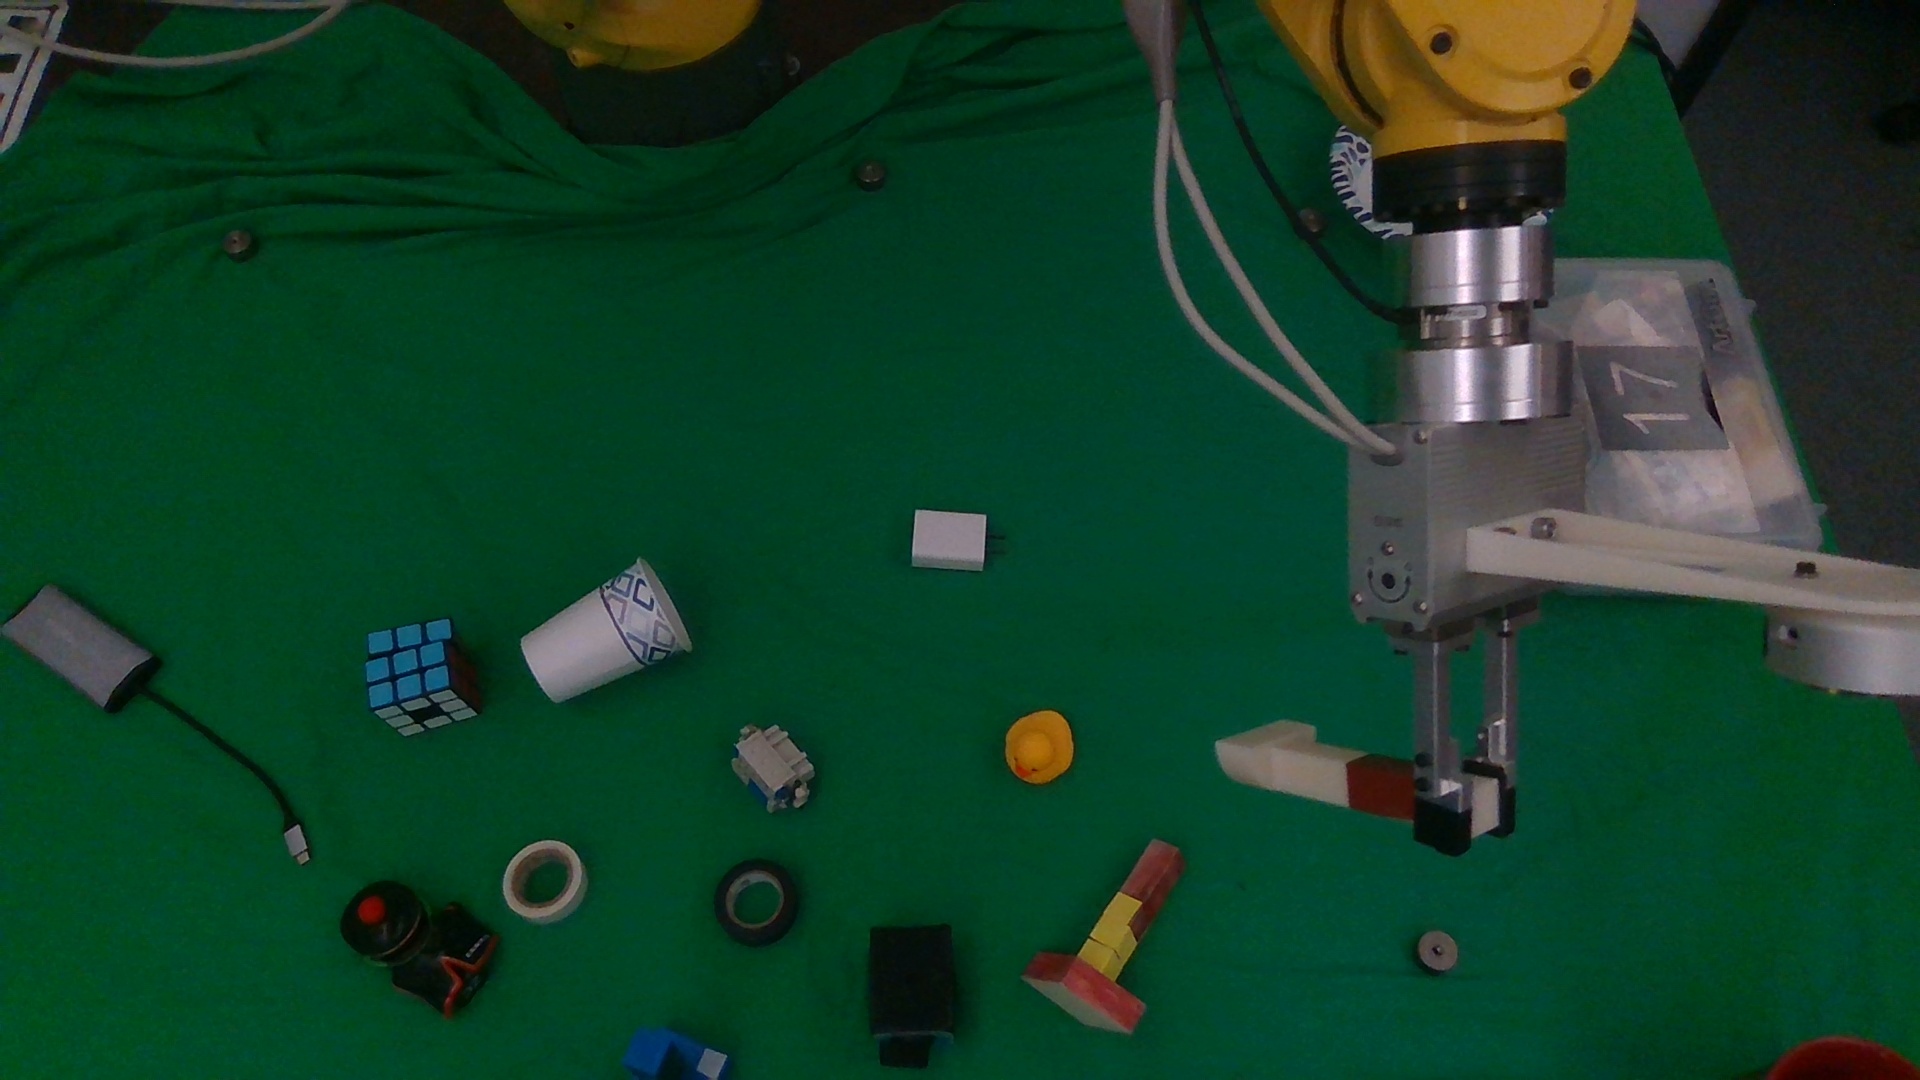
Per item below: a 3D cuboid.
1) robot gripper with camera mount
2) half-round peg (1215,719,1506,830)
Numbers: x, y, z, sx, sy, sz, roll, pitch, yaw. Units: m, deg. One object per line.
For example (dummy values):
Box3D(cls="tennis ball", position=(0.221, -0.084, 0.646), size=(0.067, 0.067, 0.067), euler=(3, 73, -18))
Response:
Box3D(cls="robot gripper with camera mount", position=(0.251, 0.046, 0.495), size=(0.118, 0.194, 0.158), euler=(-9, 99, -38))
Box3D(cls="half-round peg", position=(0.174, 0.103, 0.600), size=(0.054, 0.122, 0.031), euler=(-14, 99, -39))
